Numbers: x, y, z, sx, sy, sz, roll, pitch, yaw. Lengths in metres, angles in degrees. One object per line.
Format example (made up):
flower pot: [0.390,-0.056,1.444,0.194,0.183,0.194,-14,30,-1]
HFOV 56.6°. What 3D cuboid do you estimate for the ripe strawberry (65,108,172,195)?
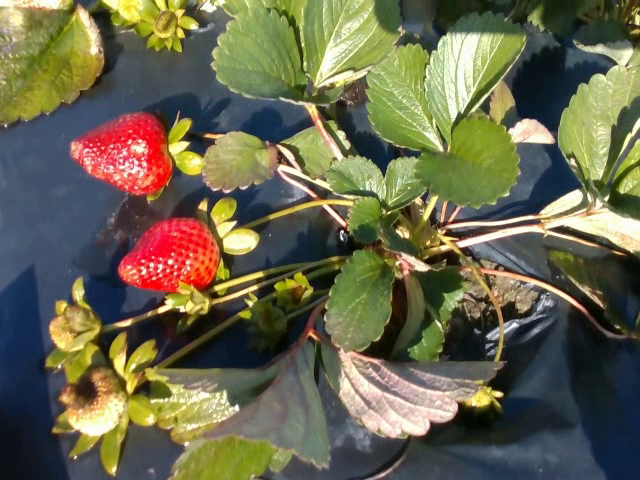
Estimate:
ripe strawberry: [-0.100,-0.045,0.288,0.050,0.051,0.044,5,-28,-31]

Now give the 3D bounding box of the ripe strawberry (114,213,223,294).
ripe strawberry: [-0.067,0.008,0.250,0.042,0.039,0.049,7,17,41]
